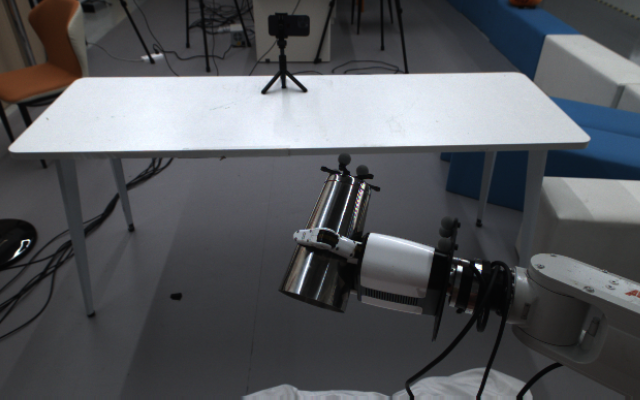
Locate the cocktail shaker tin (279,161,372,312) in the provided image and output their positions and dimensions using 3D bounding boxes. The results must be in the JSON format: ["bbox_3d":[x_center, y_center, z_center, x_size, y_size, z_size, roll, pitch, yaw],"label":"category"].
[{"bbox_3d":[0.014,0.056,0.651,0.093,0.093,0.170,14,73,17],"label":"cocktail shaker tin"}]
